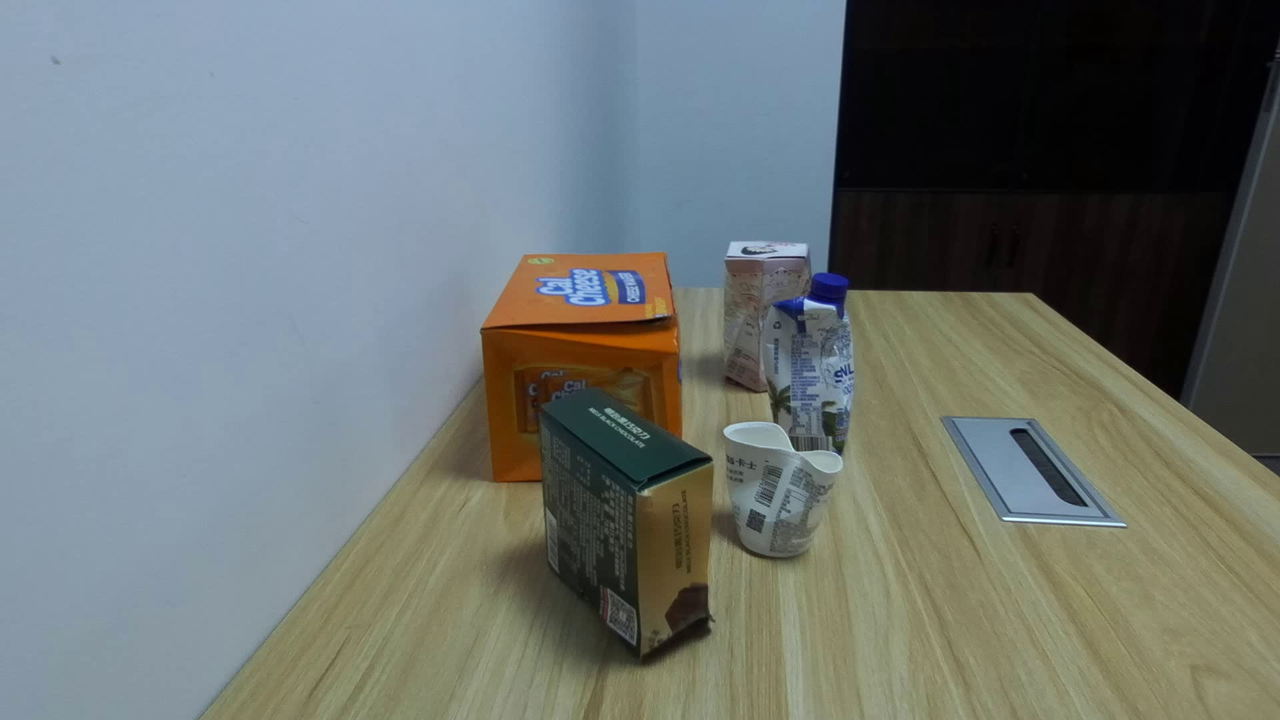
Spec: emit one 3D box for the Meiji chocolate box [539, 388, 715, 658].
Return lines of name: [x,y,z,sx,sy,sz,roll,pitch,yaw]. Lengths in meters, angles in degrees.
Meiji chocolate box: [-0.011,0.089,0.406,0.059,0.116,0.122,-14,24,-31]

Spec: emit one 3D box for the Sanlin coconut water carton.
Sanlin coconut water carton: [0.137,0.002,0.572,0.068,0.144,0.057,-2,14,19]

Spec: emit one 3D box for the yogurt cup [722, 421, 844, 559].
yogurt cup: [0.090,0.084,0.459,0.075,0.071,0.054,3,24,15]

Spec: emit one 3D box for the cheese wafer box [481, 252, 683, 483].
cheese wafer box: [-0.041,-0.008,0.618,0.149,0.137,0.227,0,22,0]
